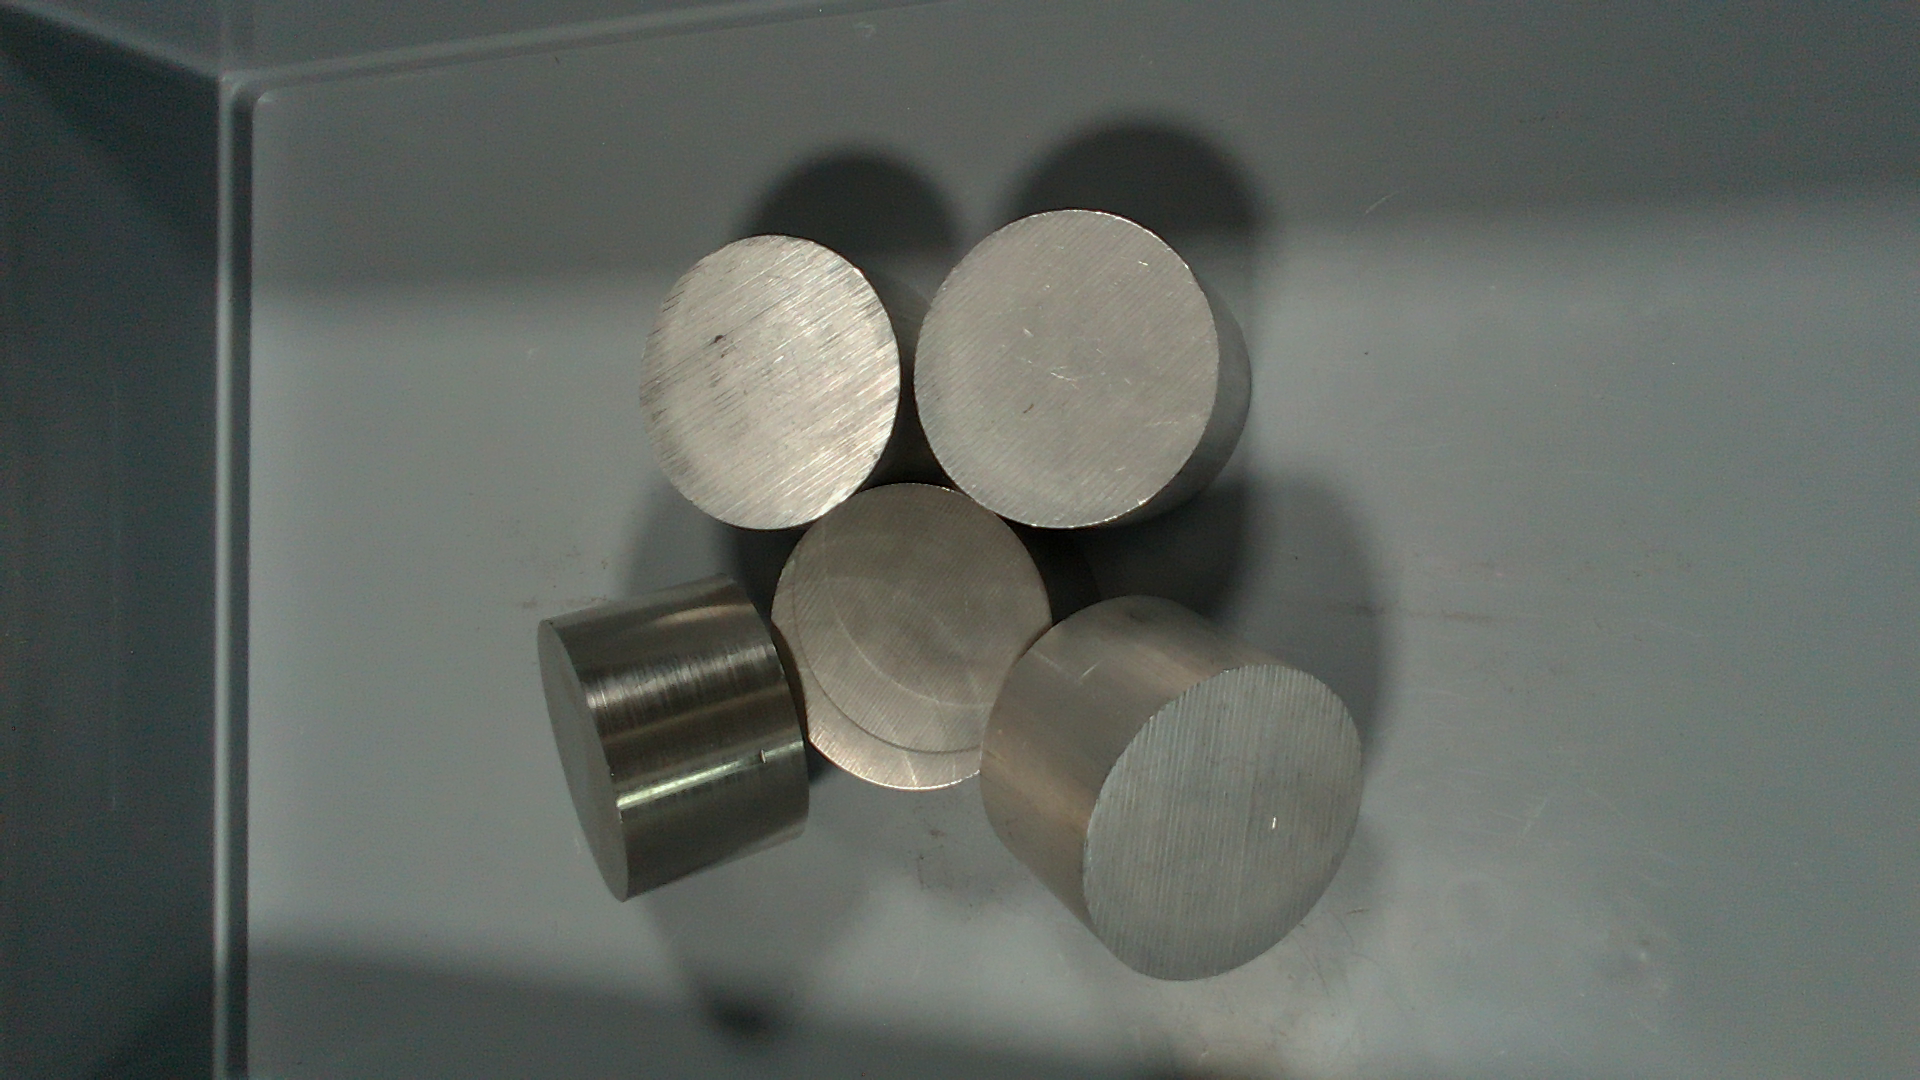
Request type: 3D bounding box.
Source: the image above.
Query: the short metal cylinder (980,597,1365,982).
[{"bbox_3d":[0.052,0.060,0.340,0.050,0.080,0.080,30,103,57],"label":"short metal cylinder"}]

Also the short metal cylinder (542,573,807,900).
[{"bbox_3d":[-0.083,0.054,0.389,0.050,0.080,0.080,-16,83,-25],"label":"short metal cylinder"}]

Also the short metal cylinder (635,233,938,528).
[{"bbox_3d":[-0.045,-0.043,0.397,0.080,0.050,0.080,0,90,20],"label":"short metal cylinder"}]

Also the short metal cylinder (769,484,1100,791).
[{"bbox_3d":[-0.005,0.025,0.382,0.080,0.050,0.080,0,90,20],"label":"short metal cylinder"}]

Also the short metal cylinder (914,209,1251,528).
[{"bbox_3d":[0.034,-0.043,0.369,0.080,0.050,0.080,0,90,20],"label":"short metal cylinder"}]
